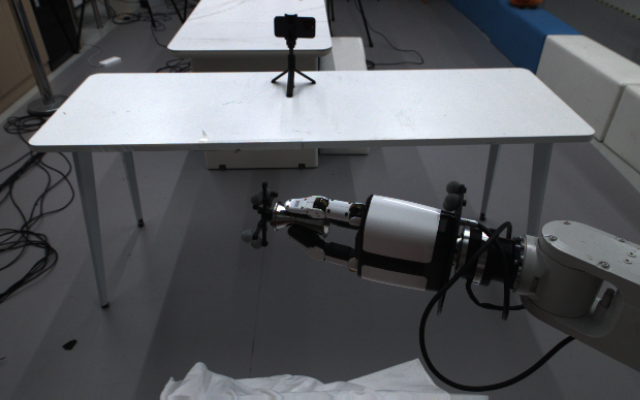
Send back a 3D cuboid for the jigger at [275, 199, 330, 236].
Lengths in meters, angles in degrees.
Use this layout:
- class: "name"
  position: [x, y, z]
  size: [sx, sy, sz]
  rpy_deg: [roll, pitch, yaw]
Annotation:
- class: "jigger"
  position: [-0.017, 0.020, 0.629]
  size: [0.071, 0.043, 0.043]
  rpy_deg: [5, 35, 12]
